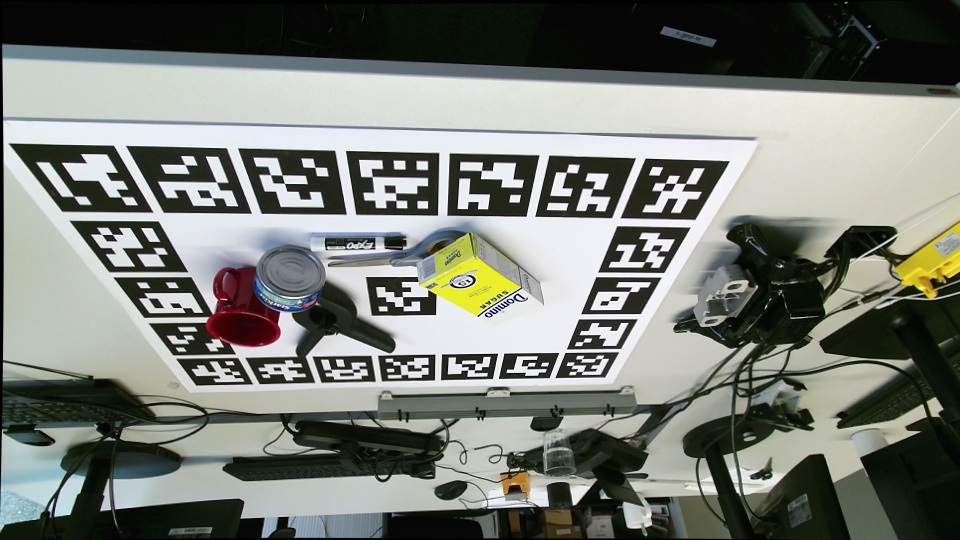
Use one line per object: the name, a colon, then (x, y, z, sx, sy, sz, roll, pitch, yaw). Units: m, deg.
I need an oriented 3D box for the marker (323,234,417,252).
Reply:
marker: (-0.144, -0.036, 0.704, 0.121, 0.019, 0.020, -3, 139, -3)

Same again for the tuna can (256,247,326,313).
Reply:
tuna can: (-0.246, 0.012, 0.699, 0.086, 0.085, 0.034, 11, 137, -18)

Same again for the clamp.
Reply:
clamp: (-0.227, 0.079, 0.834, 0.166, 0.036, 0.203, -7, 139, 3)

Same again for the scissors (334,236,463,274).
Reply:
scissors: (-0.101, -0.007, 0.738, 0.203, 0.016, 0.088, -6, 144, 4)

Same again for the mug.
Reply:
mug: (-0.309, 0.043, 0.737, 0.093, 0.081, 0.117, -18, 141, 16)

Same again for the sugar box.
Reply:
sugar box: (0.006, 0.020, 0.755, 0.093, 0.045, 0.177, -25, 142, 23)
